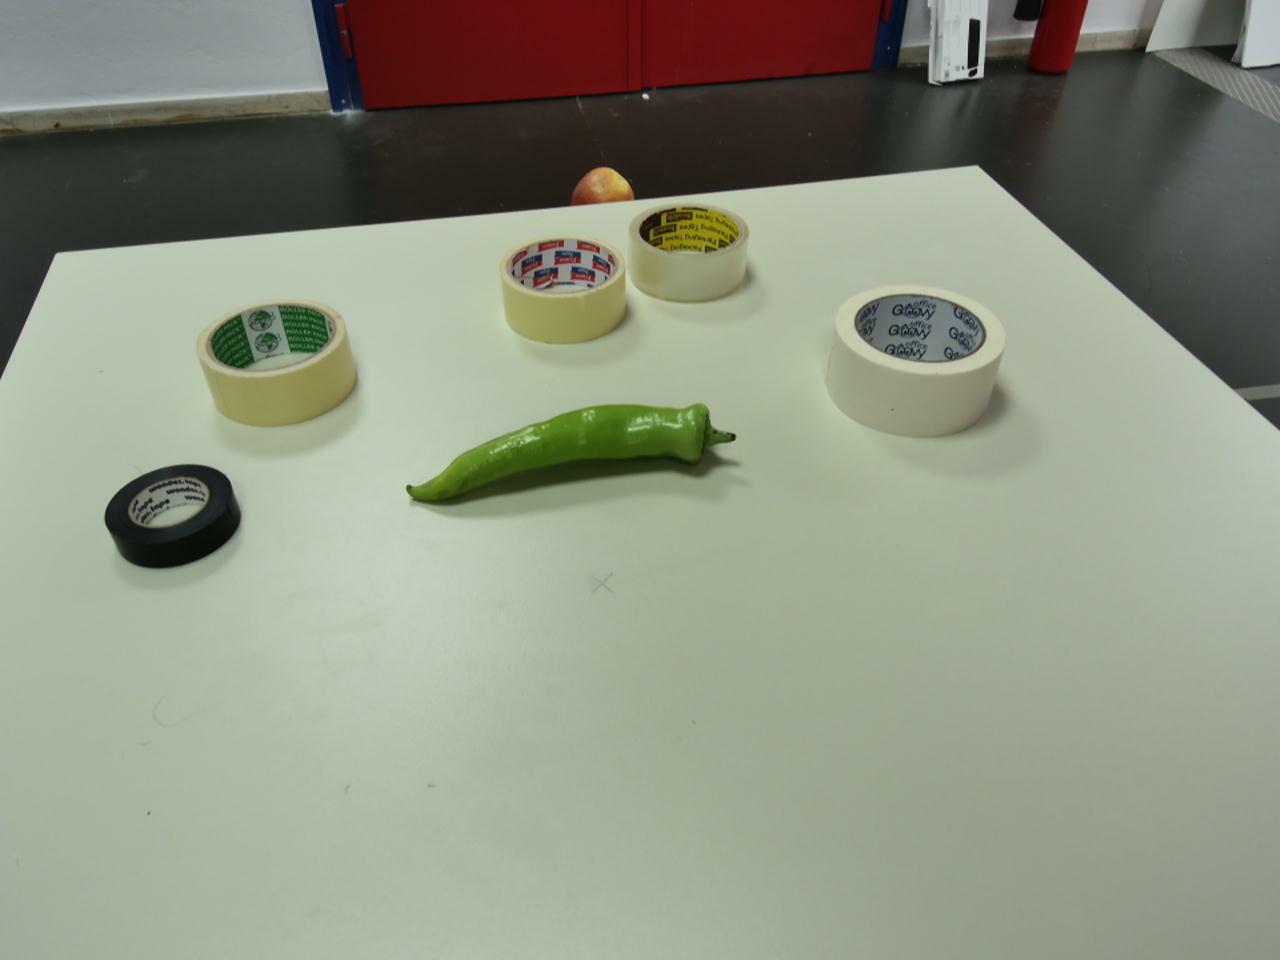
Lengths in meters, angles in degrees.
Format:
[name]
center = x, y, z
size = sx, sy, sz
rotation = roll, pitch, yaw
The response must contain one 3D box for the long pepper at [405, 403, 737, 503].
[long pepper]
center = -0.041, -0.022, 0.596
size = 0.197, 0.038, 0.046
rotation = -6, 40, -8
